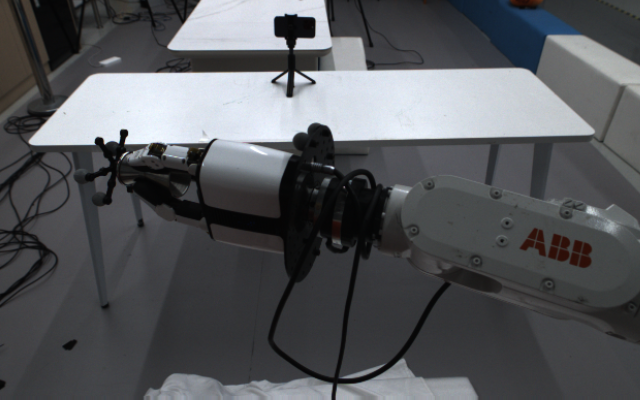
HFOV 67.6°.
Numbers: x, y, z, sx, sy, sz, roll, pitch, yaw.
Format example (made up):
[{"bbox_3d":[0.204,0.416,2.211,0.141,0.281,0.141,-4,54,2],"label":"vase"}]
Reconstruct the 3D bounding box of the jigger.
[{"bbox_3d":[-0.181,-0.034,0.537,0.071,0.043,0.043,10,35,15],"label":"jigger"}]
